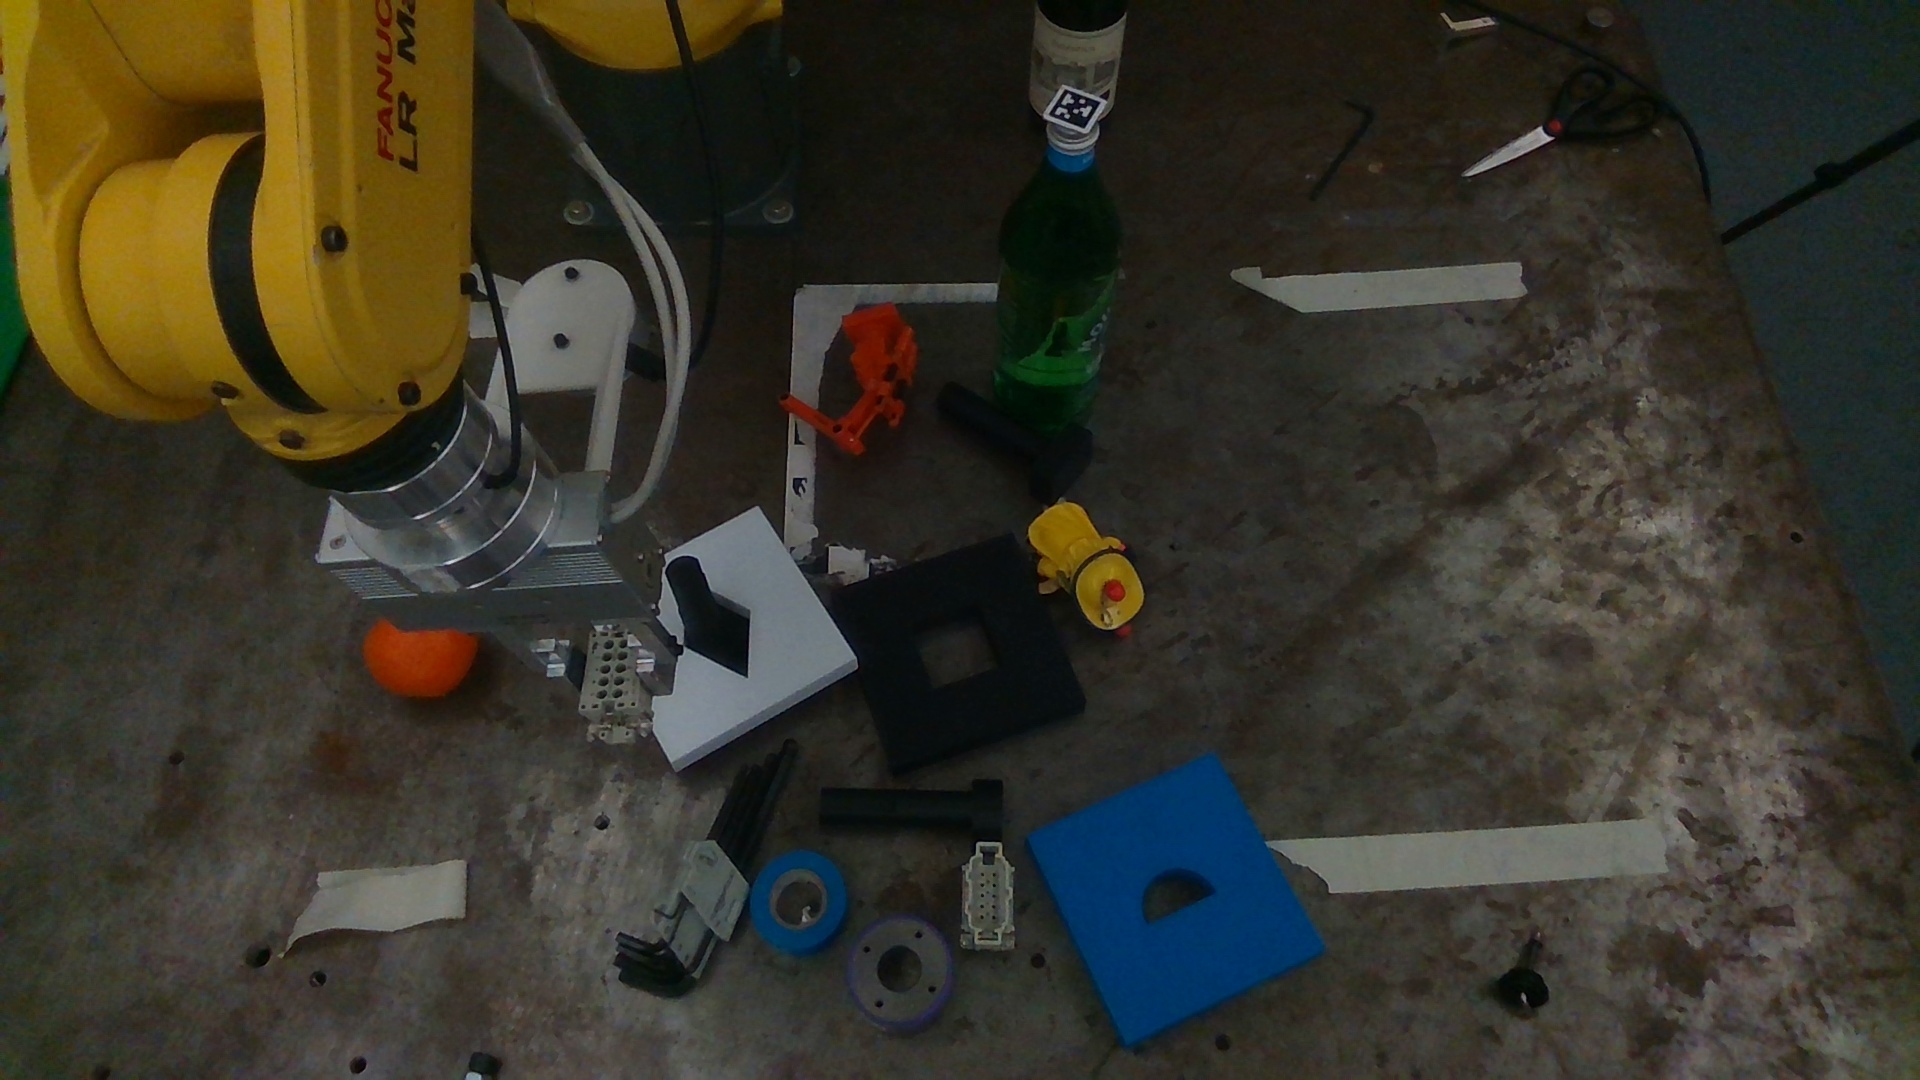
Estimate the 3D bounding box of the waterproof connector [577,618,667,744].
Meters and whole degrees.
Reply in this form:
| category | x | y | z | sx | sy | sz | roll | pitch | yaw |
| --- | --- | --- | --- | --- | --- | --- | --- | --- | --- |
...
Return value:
| category | x | y | z | sx | sy | sz | roll | pitch | yaw |
| --- | --- | --- | --- | --- | --- | --- | --- | --- | --- |
| waterproof connector | -0.180 | 0.075 | 0.748 | 0.037 | 0.038 | 0.069 | -3 | 62 | 11 |
